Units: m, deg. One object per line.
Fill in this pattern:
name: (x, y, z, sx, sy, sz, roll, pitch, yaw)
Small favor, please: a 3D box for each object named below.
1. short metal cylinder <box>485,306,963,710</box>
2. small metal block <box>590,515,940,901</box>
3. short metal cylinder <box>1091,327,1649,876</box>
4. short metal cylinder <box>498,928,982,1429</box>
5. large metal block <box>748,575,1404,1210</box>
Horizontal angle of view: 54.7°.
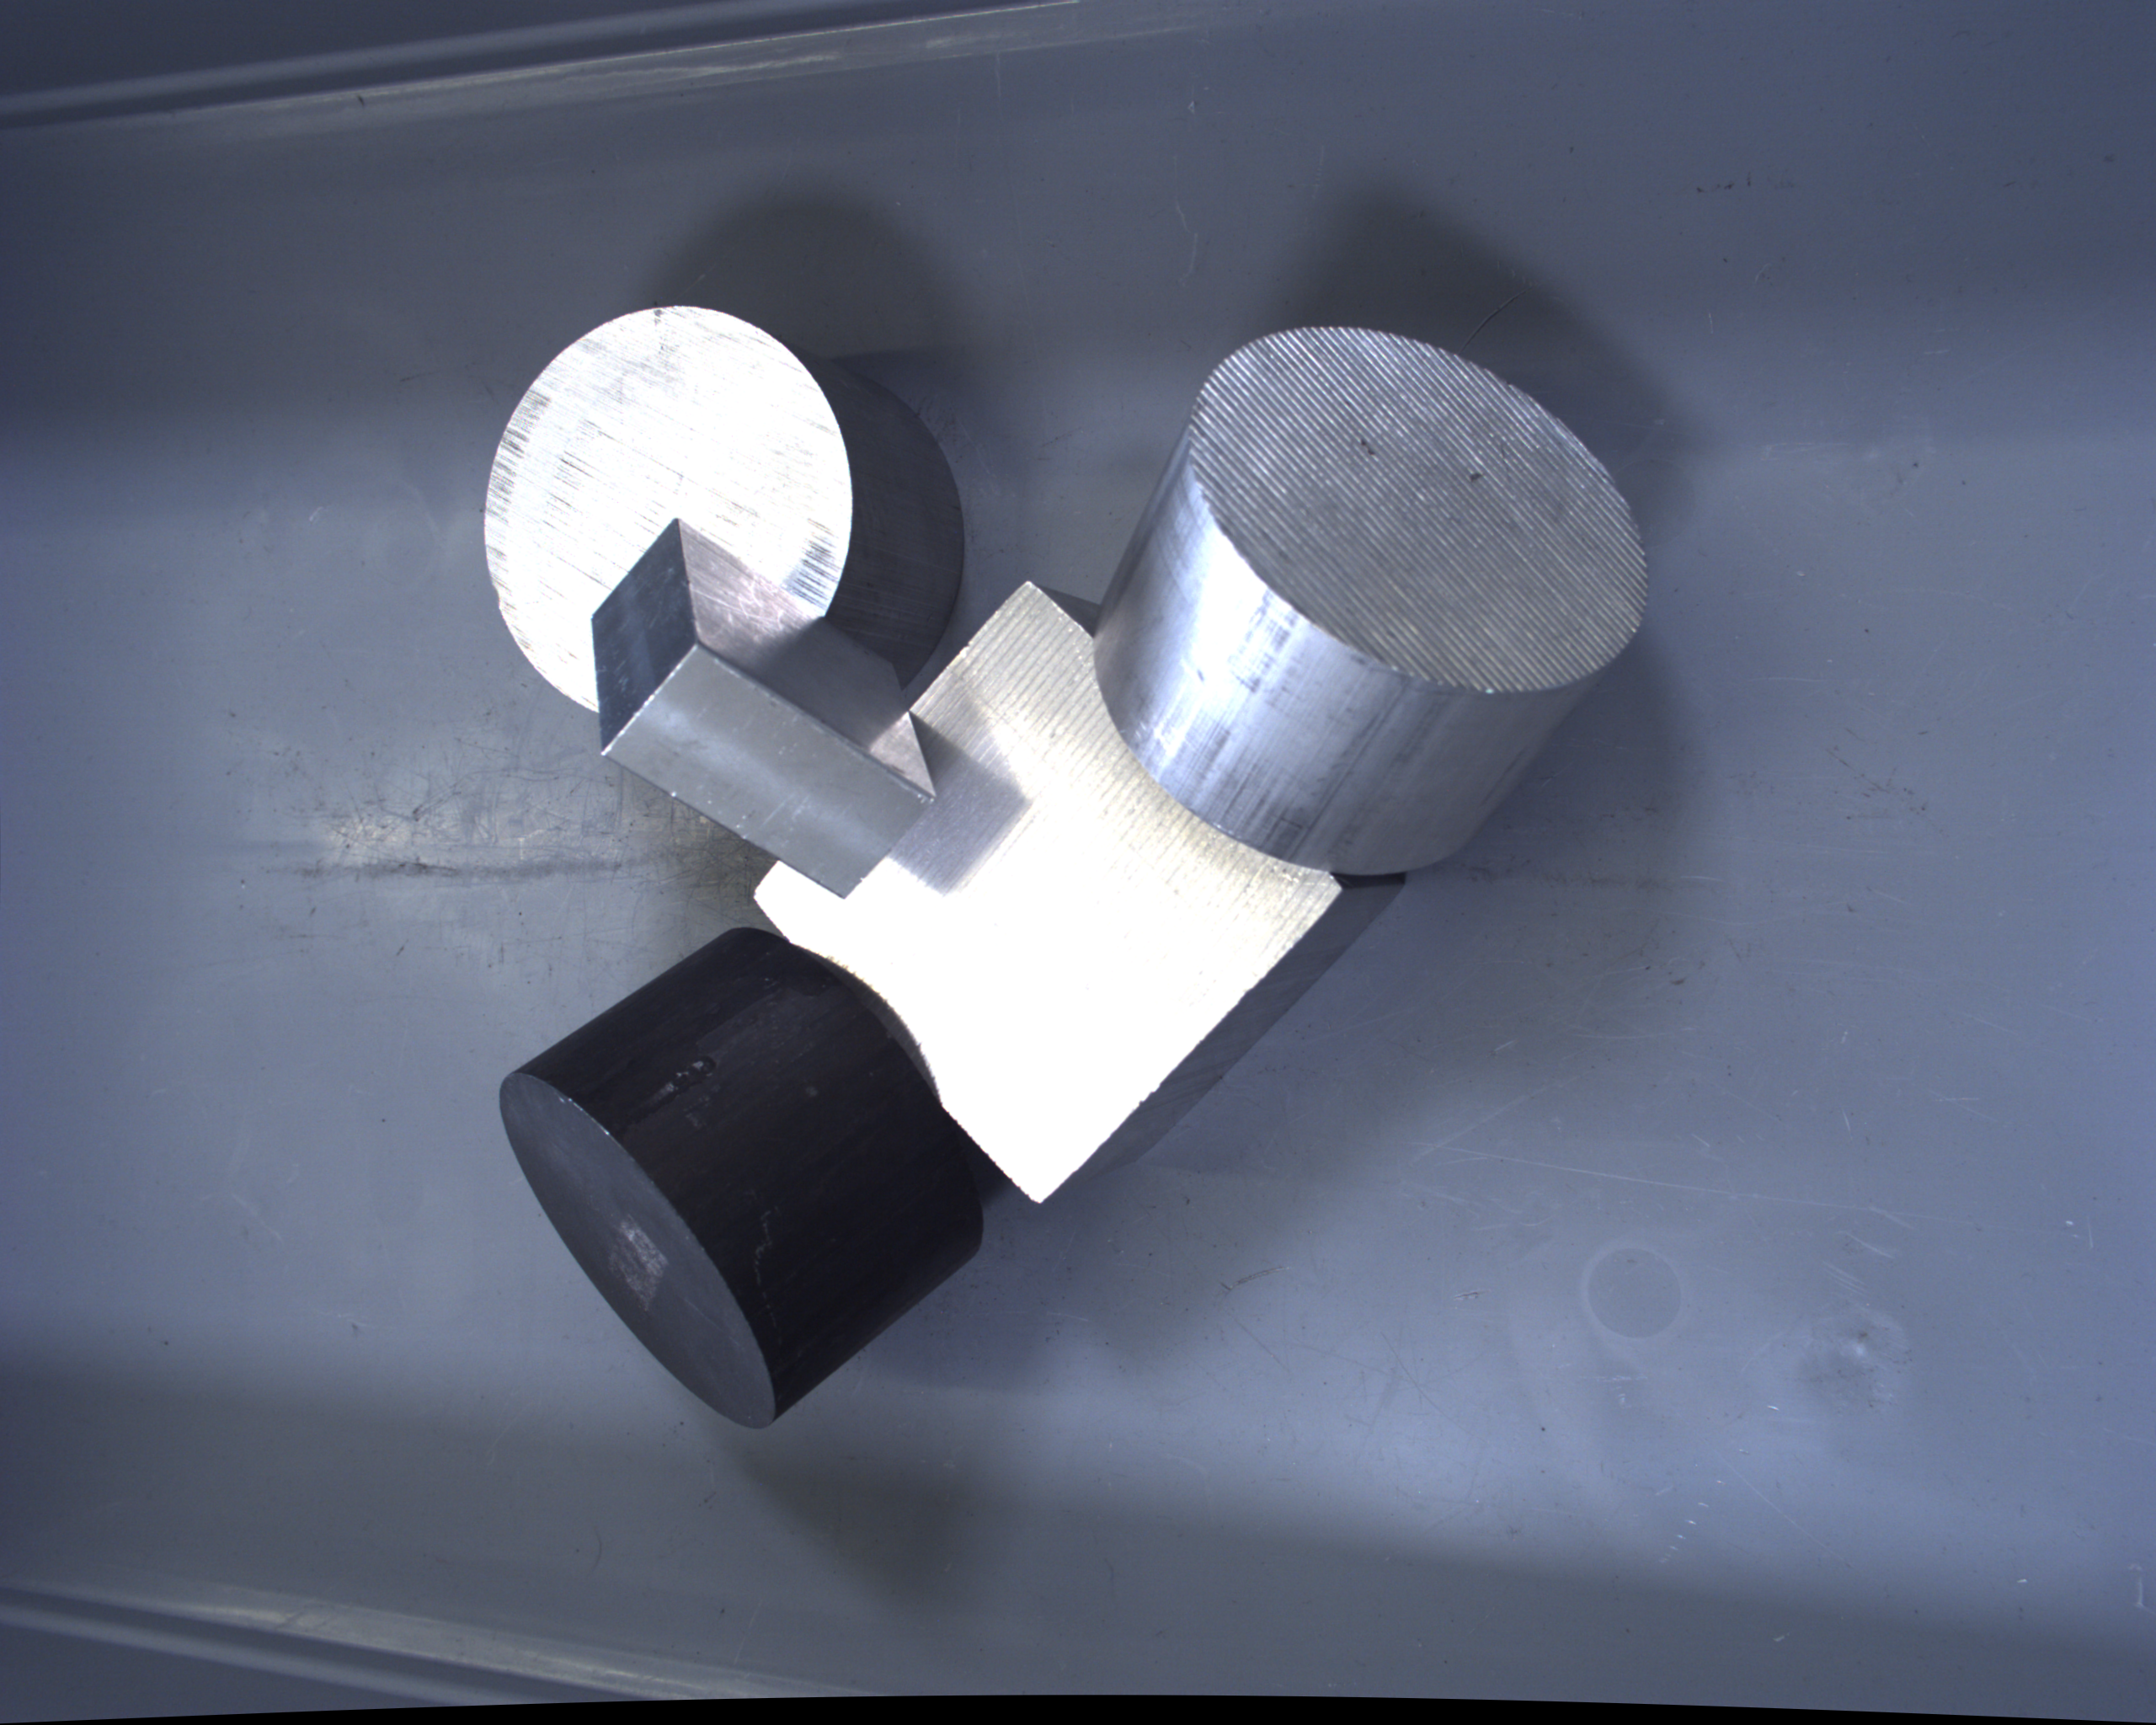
short metal cylinder: (-0.070, -0.066, 0.420, 0.080, 0.050, 0.079, 0, 90, 20)
small metal block: (-0.055, -0.027, 0.362, 0.025, 0.050, 0.050, -47, 32, 16)
short metal cylinder: (0.048, -0.045, 0.355, 0.080, 0.081, 0.050, 45, 142, 14)
short metal cylinder: (-0.064, 0.059, 0.396, 0.080, 0.050, 0.080, 35, 145, 29)
large metal block: (0.001, 0.005, 0.393, 0.080, 0.050, 0.080, 46, 104, 14)
